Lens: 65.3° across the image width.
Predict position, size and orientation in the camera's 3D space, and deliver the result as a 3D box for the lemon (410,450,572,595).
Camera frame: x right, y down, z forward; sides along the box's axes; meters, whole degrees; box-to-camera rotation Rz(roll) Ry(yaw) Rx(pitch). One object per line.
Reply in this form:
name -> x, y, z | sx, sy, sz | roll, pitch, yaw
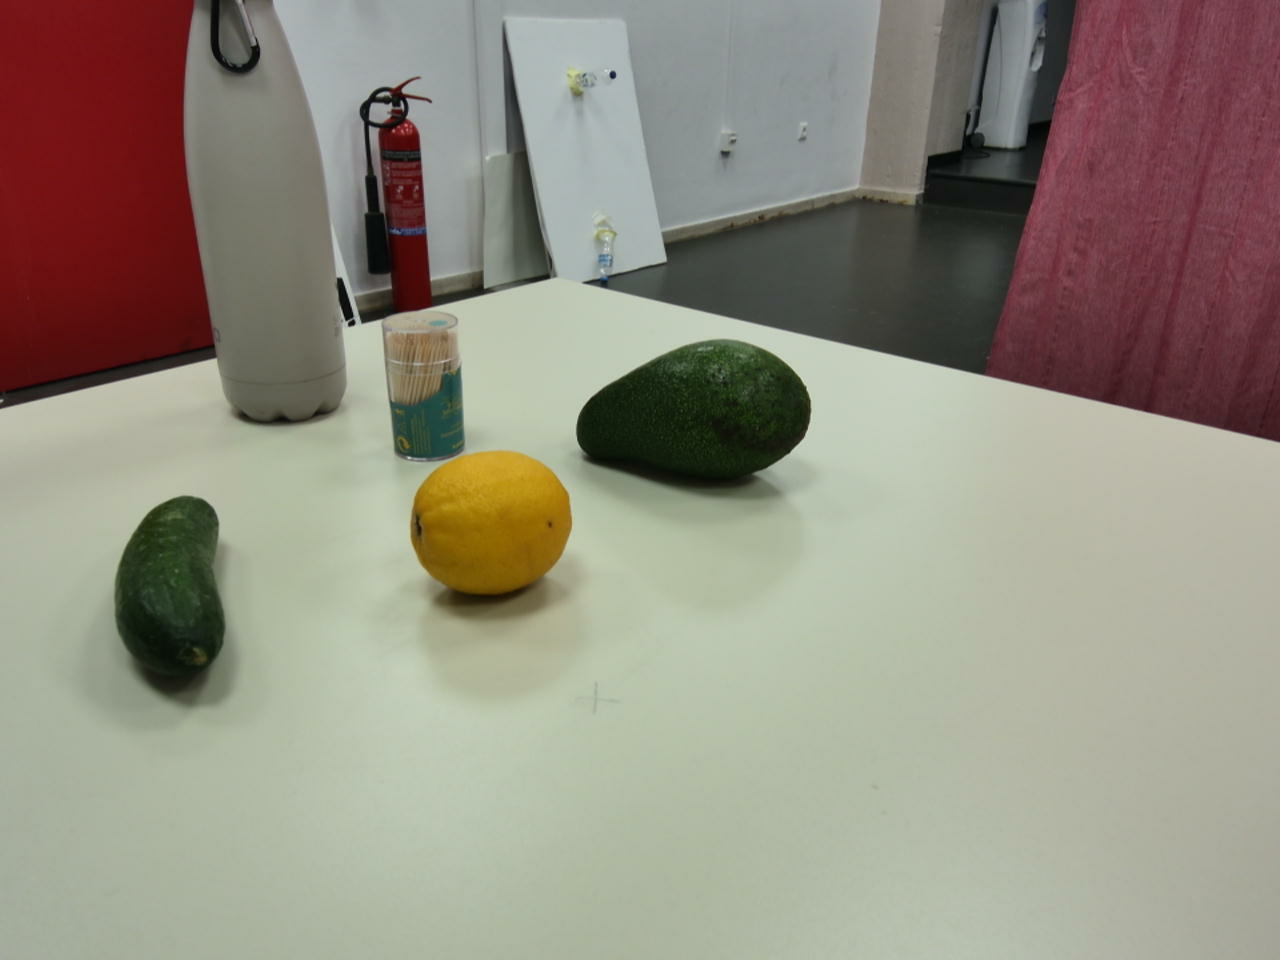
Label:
lemon -> -0.062, 0.018, 0.417 | 0.067, 0.059, 0.061 | -3, 23, -8
